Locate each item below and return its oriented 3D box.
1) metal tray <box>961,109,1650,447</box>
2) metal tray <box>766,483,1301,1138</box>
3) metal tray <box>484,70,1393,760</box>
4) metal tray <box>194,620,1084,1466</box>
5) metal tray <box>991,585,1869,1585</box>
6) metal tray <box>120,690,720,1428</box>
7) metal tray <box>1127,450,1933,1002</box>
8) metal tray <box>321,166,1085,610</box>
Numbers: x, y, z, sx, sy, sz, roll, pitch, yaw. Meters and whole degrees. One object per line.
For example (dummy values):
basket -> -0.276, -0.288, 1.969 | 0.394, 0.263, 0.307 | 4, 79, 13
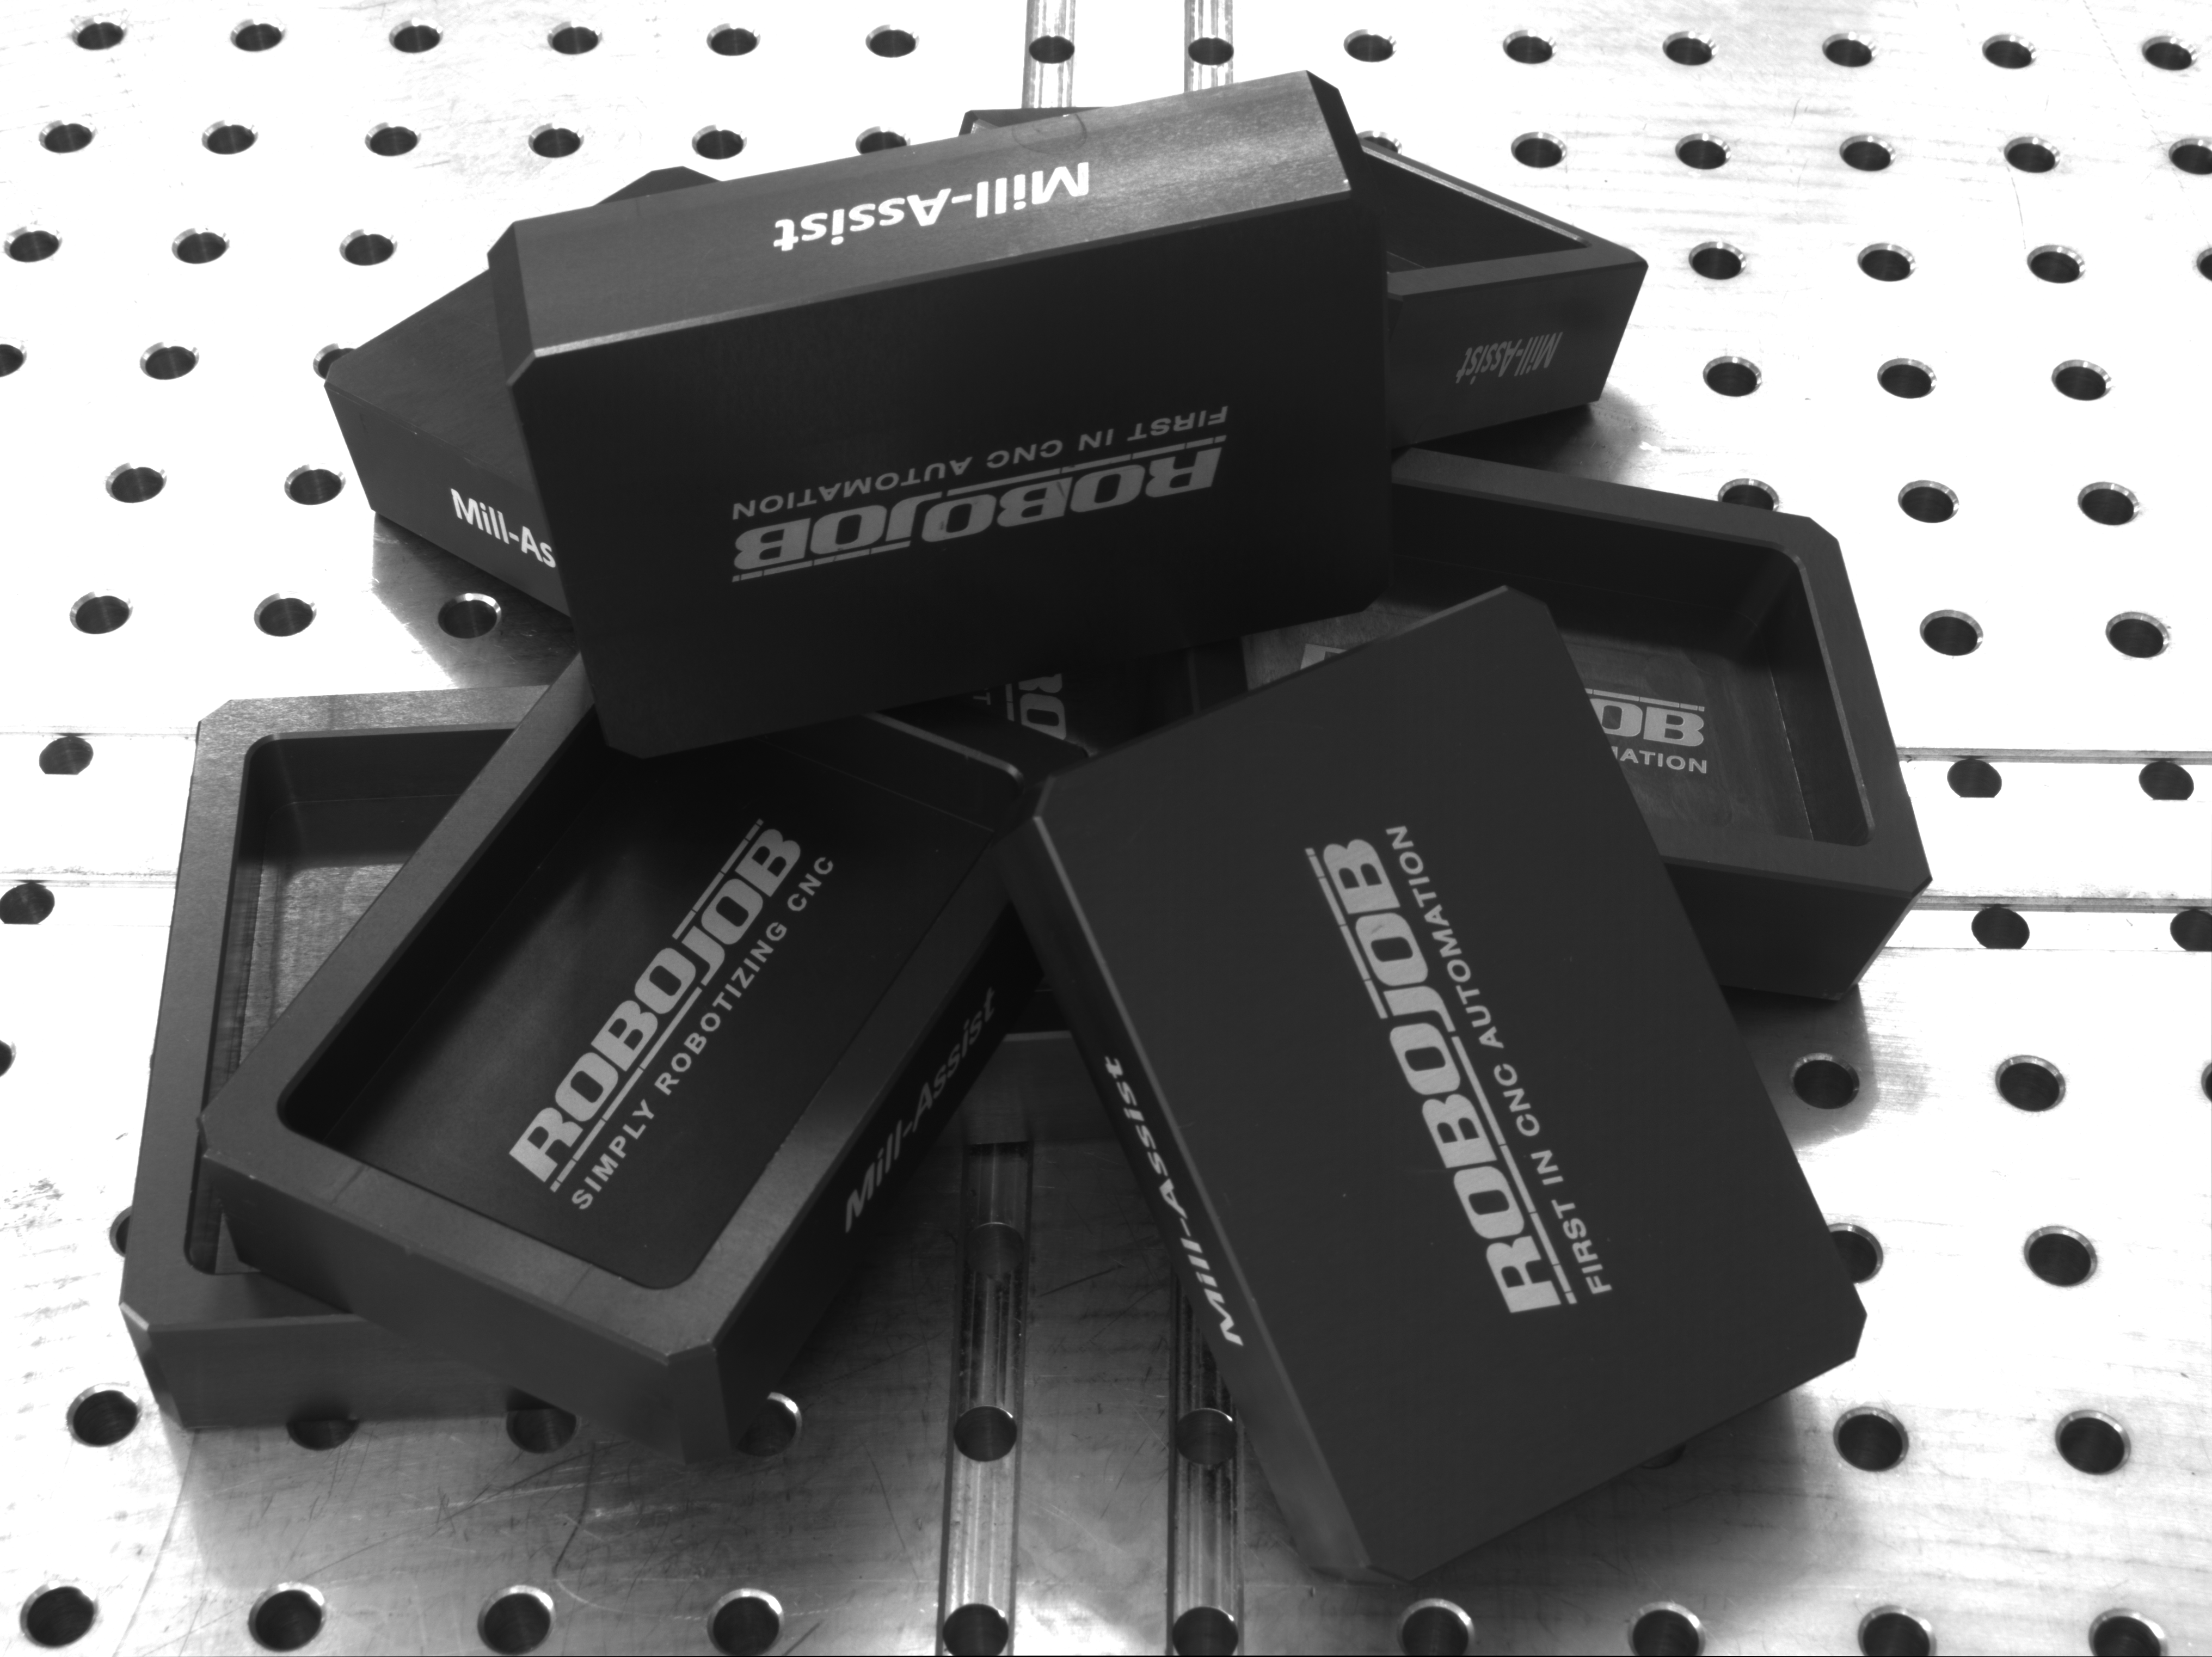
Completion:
metal tray -> 0.036, -0.105, 0.687 | 0.090, 0.030, 0.130 | 27, 22, 21
metal tray -> -0.014, -0.006, 0.647 | 0.090, 0.030, 0.130 | -2, 48, -4
metal tray -> -0.023, -0.062, 0.571 | 0.130, 0.090, 0.030 | -12, 51, -4
metal tray -> -0.069, 0.027, 0.580 | 0.090, 0.030, 0.130 | 21, 53, 17
metal tray -> 0.050, 0.039, 0.566 | 0.090, 0.030, 0.130 | -23, 87, -18
metal tray -> -0.110, 0.034, 0.614 | 0.090, 0.030, 0.130 | -3, 49, -3
metal tray -> 0.070, -0.021, 0.636 | 0.130, 0.030, 0.090 | 8, 48, -16
metal tray -> -0.073, -0.076, 0.685 | 0.090, 0.030, 0.130 | -37, 44, -27
